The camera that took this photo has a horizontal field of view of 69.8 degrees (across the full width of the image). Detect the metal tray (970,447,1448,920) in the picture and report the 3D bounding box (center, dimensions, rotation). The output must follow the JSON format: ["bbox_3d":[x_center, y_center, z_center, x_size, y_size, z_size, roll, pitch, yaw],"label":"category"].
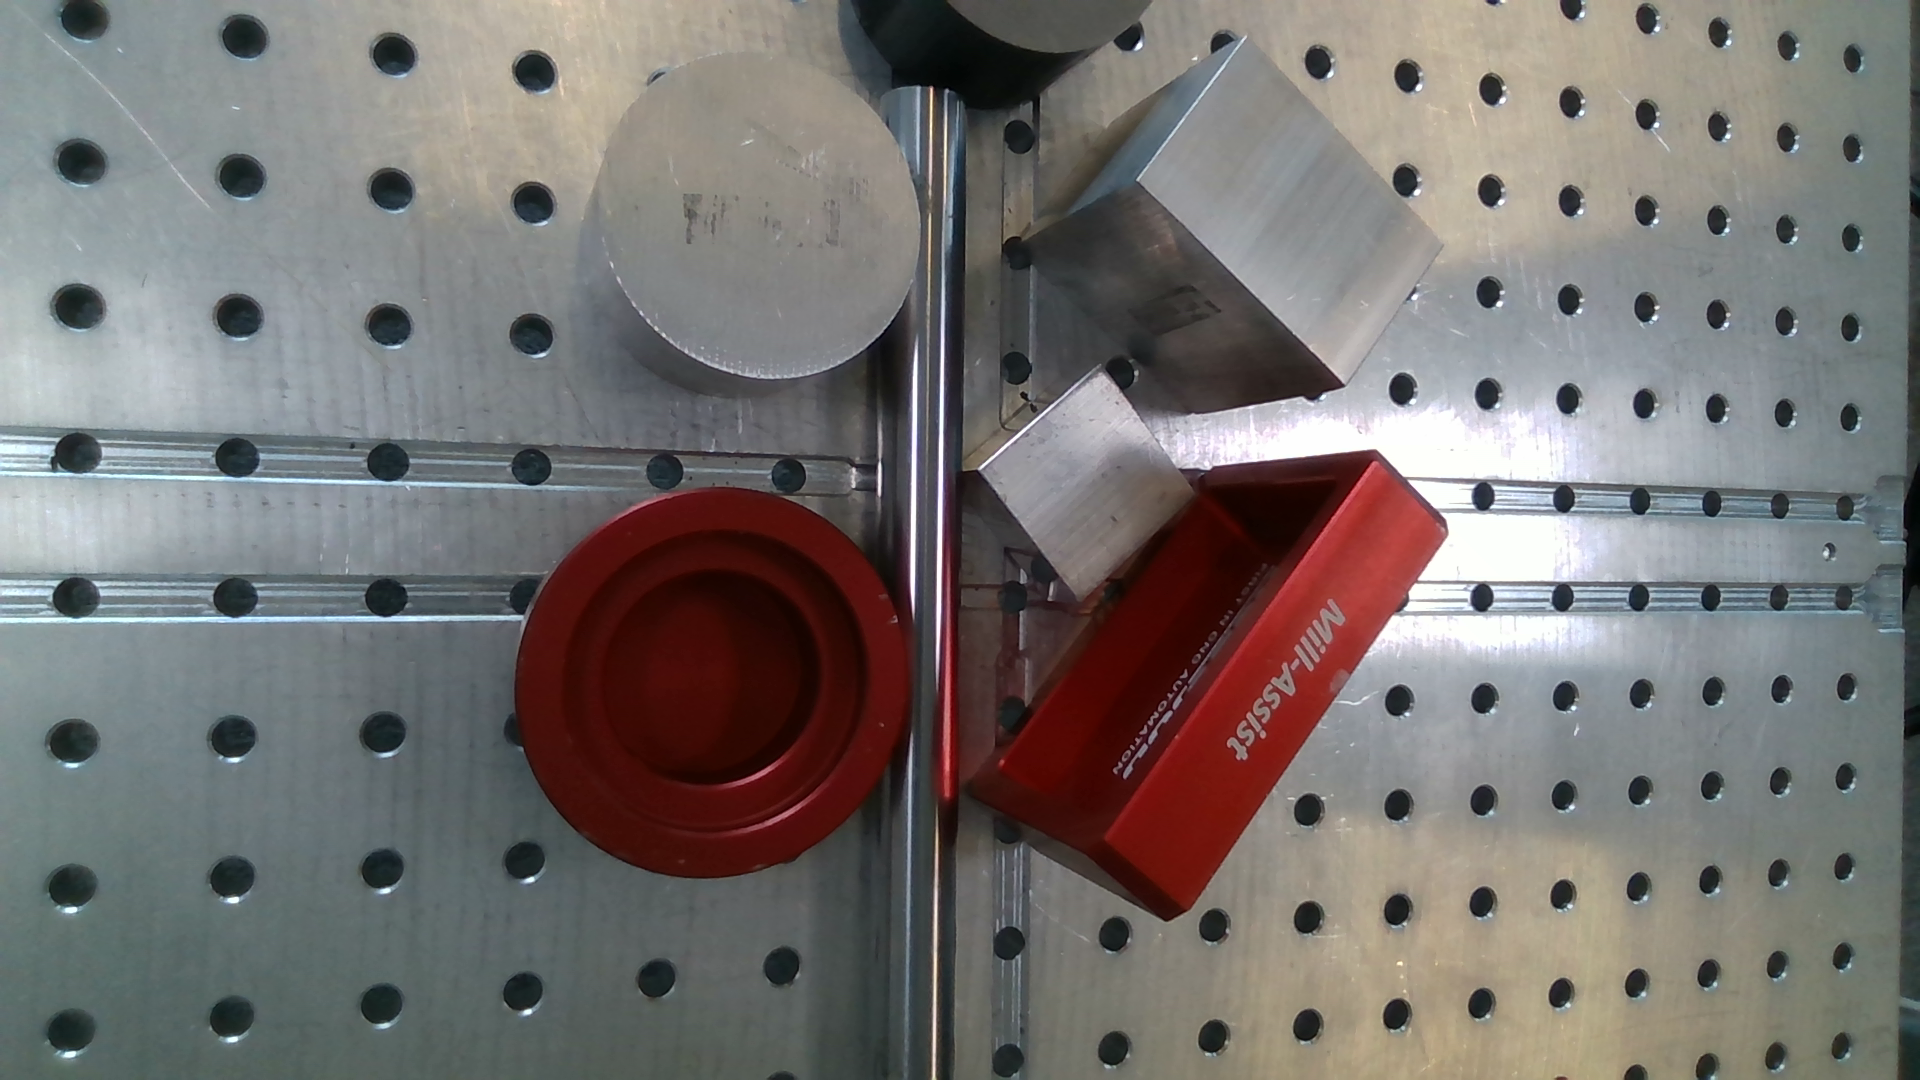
[{"bbox_3d":[0.066,0.035,0.386,0.030,0.090,0.130,42,77,-15],"label":"metal tray"}]

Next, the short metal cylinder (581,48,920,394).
[{"bbox_3d":[-0.056,-0.081,0.362,0.080,0.050,0.080,0,90,-20],"label":"short metal cylinder"}]

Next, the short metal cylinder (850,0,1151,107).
[{"bbox_3d":[0.012,-0.169,0.387,0.080,0.050,0.080,0,90,-20],"label":"short metal cylinder"}]

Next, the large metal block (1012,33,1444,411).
[{"bbox_3d":[0.073,-0.085,0.394,0.080,0.080,0.050,40,78,-16],"label":"large metal block"}]

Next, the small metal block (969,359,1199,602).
[{"bbox_3d":[0.034,-0.017,0.409,0.050,0.025,0.050,-41,103,-15],"label":"small metal block"}]

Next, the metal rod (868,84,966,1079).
[{"bbox_3d":[-0.012,0.024,0.392,0.025,0.025,0.300,1,90,-20],"label":"metal rod"}]

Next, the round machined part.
[{"bbox_3d":[-0.067,0.035,0.363,0.098,0.042,0.098,0,90,-20],"label":"round machined part"}]
